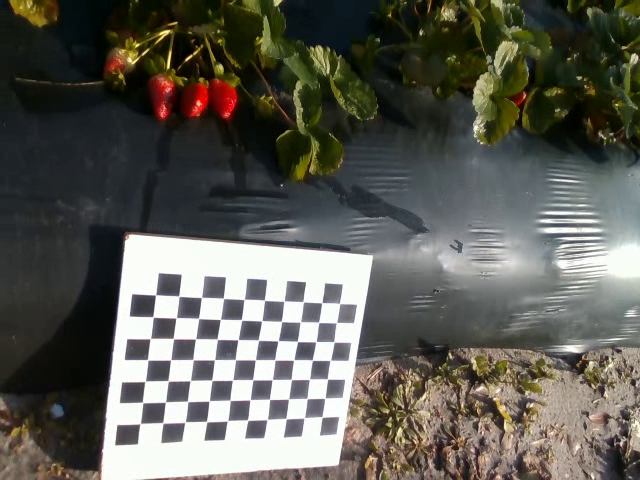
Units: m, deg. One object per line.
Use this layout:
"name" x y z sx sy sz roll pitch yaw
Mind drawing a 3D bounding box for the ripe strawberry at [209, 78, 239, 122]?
"ripe strawberry" -0.095 -0.133 0.610 0.035 0.041 0.034 0 -42 -21

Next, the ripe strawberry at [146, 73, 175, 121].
"ripe strawberry" -0.149 -0.136 0.591 0.031 0.046 0.023 4 -8 -22

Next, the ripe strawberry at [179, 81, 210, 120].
"ripe strawberry" -0.120 -0.134 0.596 0.030 0.037 0.039 15 28 -23
